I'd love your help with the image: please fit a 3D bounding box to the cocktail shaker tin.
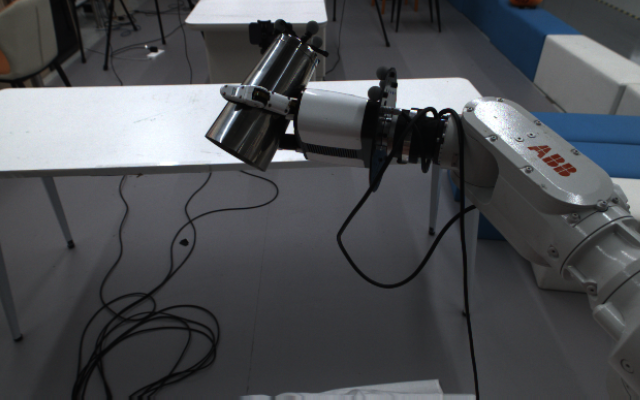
[{"bbox_3d":[-0.072,-0.139,0.654,0.093,0.093,0.170,26,83,30],"label":"cocktail shaker tin"}]
